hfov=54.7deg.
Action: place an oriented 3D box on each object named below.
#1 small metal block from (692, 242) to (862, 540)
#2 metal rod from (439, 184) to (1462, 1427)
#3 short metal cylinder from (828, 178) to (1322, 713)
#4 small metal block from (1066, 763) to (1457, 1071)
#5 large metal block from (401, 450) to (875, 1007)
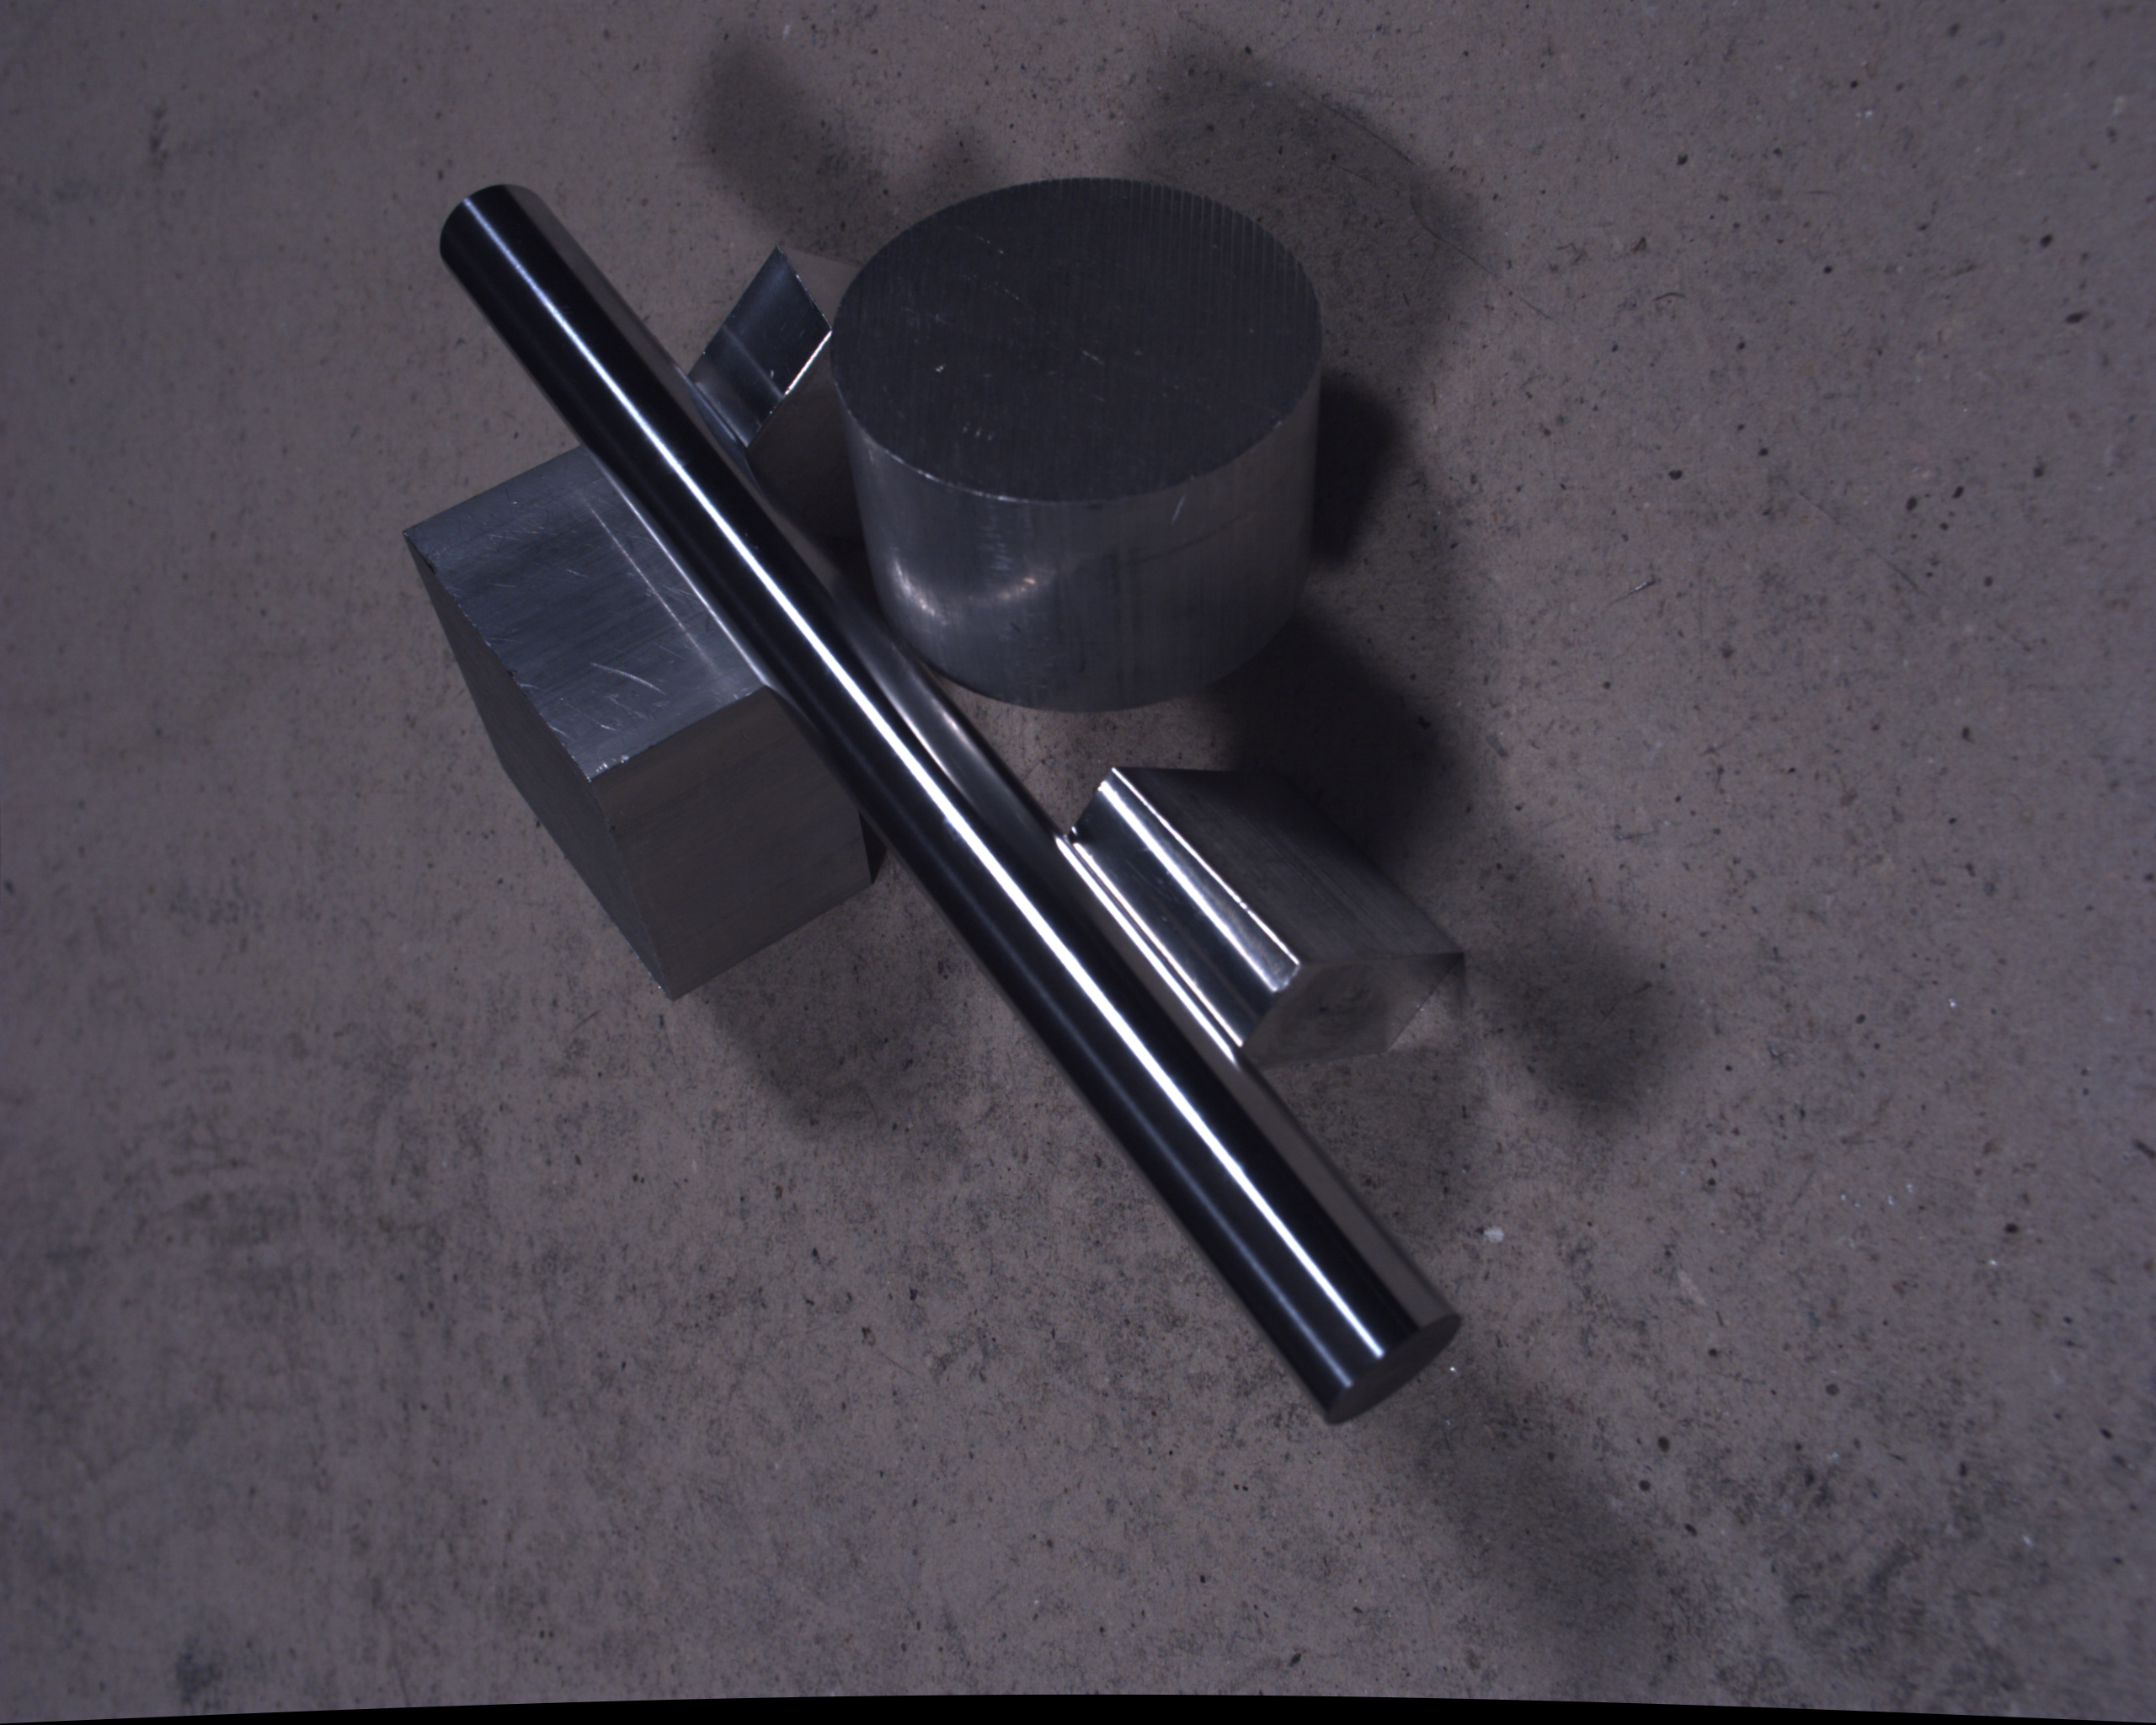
[{"bbox_3d":[-0.051,-0.095,0.430,0.050,0.050,0.025,-46,63,30],"label":"small metal block"},{"bbox_3d":[-0.038,-0.029,0.371,0.300,0.025,0.025,51,120,27],"label":"metal rod"},{"bbox_3d":[0.001,-0.072,0.360,0.080,0.080,0.050,46,159,30],"label":"short metal cylinder"},{"bbox_3d":[0.029,0.009,0.361,0.050,0.050,0.025,48,119,29],"label":"small metal block"},{"bbox_3d":[-0.090,-0.030,0.439,0.080,0.050,0.080,48,159,28],"label":"large metal block"}]
